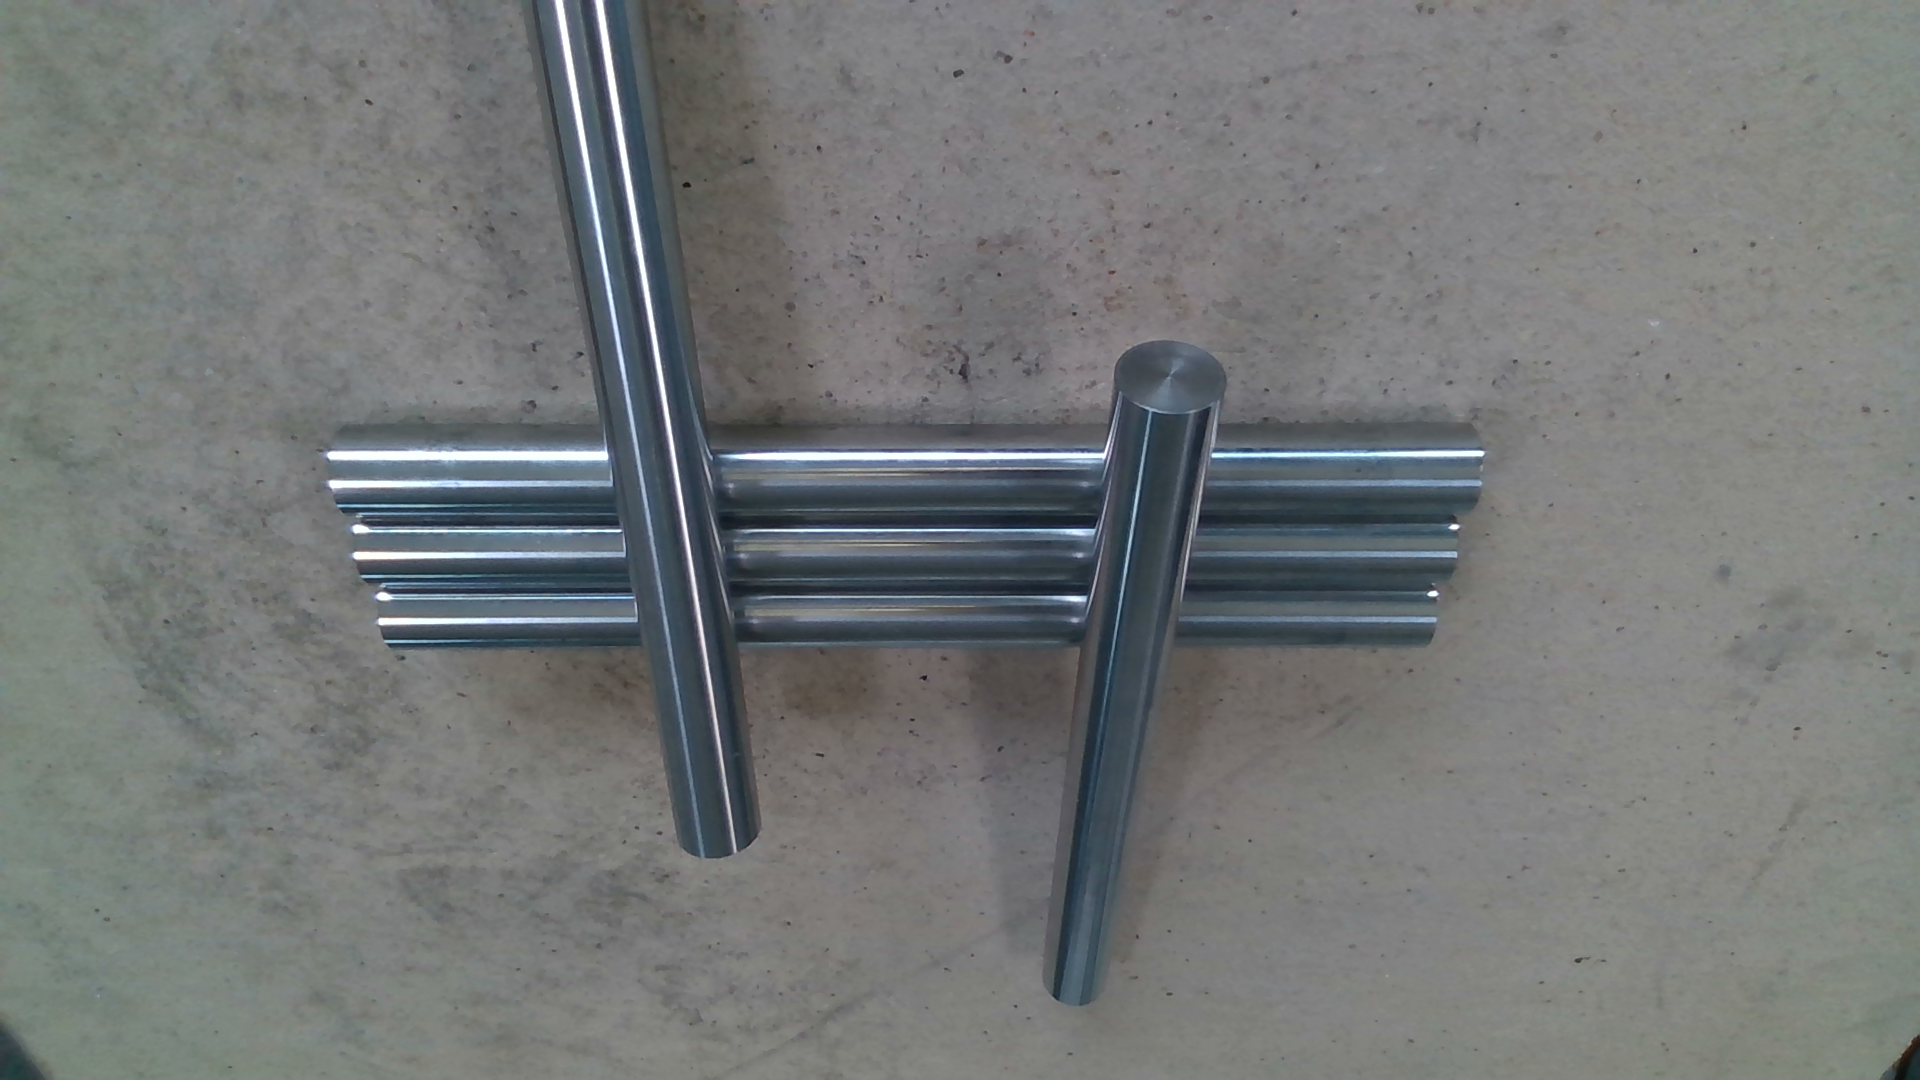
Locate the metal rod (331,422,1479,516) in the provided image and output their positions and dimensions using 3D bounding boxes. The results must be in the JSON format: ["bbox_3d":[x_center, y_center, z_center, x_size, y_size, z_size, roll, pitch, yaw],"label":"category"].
[{"bbox_3d":[-0.014,-0.019,0.372,0.300,0.025,0.025,0,130,0],"label":"metal rod"}]

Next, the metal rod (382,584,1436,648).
[{"bbox_3d":[-0.015,0.019,0.405,0.300,0.025,0.025,0,130,0],"label":"metal rod"}]

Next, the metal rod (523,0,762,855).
[{"bbox_3d":[-0.075,-0.041,0.329,0.025,0.025,0.301,-1,123,1],"label":"metal rod"}]

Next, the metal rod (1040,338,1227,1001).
[{"bbox_3d":[0.045,0.064,0.418,0.025,0.025,0.301,1,138,0],"label":"metal rod"}]

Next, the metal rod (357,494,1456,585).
[{"bbox_3d":[-0.015,0.000,0.388,0.300,0.025,0.025,0,130,0],"label":"metal rod"}]
